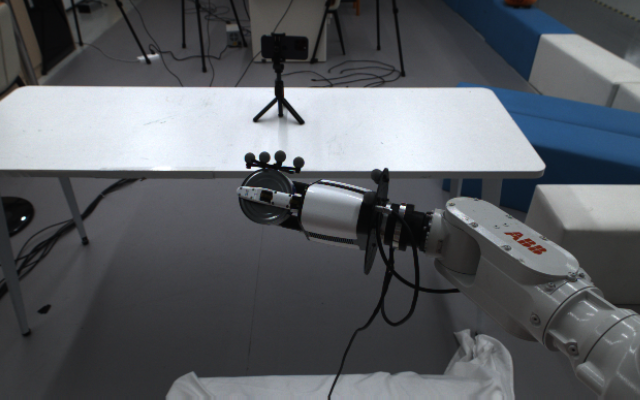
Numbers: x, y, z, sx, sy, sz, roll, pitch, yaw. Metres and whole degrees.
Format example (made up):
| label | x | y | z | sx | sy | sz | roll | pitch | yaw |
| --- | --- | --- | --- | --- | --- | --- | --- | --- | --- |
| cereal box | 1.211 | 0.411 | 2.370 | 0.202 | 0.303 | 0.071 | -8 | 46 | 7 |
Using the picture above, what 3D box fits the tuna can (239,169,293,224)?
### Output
| label | x | y | z | sx | sy | sz | roll | pitch | yaw |
| --- | --- | --- | --- | --- | --- | --- | --- | --- | --- |
| tuna can | -0.079 | -0.005 | 0.744 | 0.085 | 0.085 | 0.034 | 11 | -6 | 13 |
